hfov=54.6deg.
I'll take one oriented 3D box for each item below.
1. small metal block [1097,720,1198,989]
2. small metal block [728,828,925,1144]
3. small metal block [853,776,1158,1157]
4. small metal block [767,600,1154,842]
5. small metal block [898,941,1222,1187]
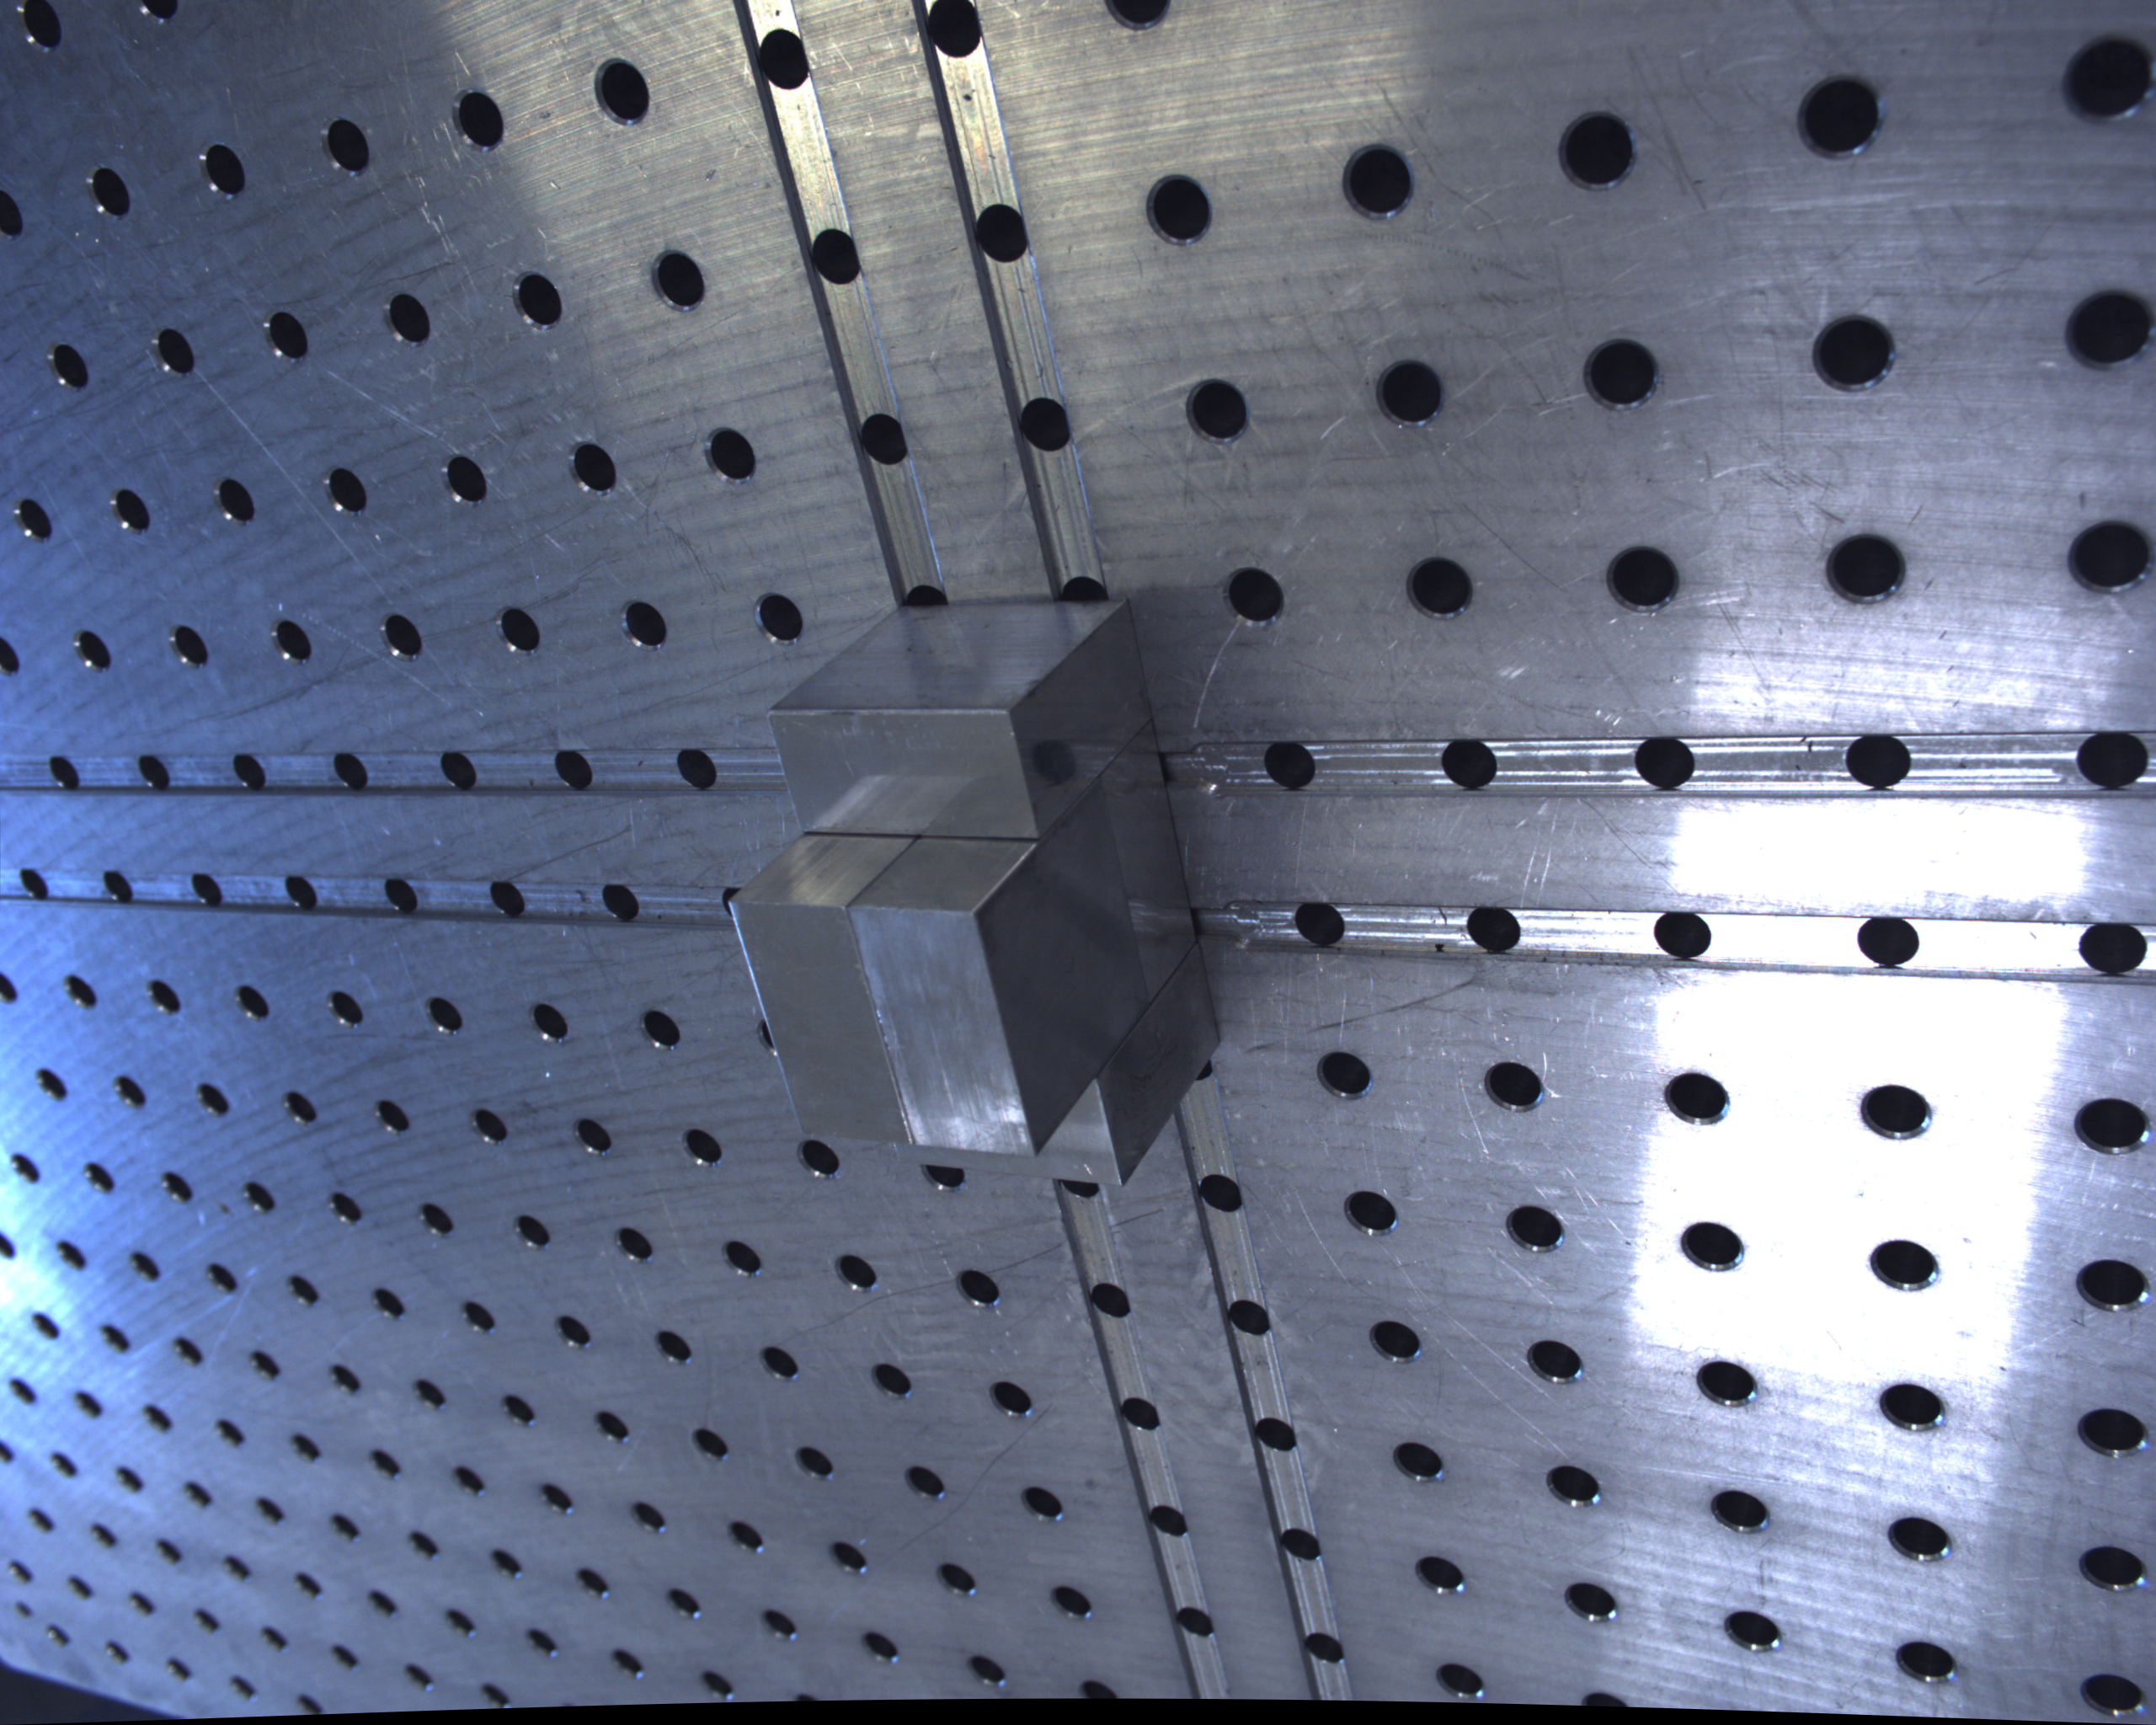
[{"bbox_3d":[-0.008,-0.001,0.415,0.050,0.025,0.050,2,120,28],"label":"small metal block"},{"bbox_3d":[-0.035,0.017,0.392,0.025,0.050,0.050,2,119,27],"label":"small metal block"},{"bbox_3d":[-0.011,0.017,0.380,0.025,0.050,0.050,3,120,28],"label":"small metal block"},{"bbox_3d":[-0.021,-0.027,0.389,0.050,0.050,0.025,2,120,27],"label":"small metal block"},{"bbox_3d":[-0.005,0.038,0.421,0.050,0.050,0.025,2,119,27],"label":"small metal block"}]
